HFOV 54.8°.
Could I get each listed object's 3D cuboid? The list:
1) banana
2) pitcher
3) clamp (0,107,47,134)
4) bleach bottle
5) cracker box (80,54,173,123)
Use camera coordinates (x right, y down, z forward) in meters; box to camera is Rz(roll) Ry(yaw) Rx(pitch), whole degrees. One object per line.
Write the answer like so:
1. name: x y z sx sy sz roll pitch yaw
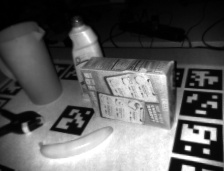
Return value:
1. banana: -0.085 0.137 0.558 0.198 0.039 0.073 -17 36 -5
2. pitcher: -0.269 -0.077 0.676 0.188 0.244 0.132 -7 36 6
3. clamp: -0.280 0.103 0.653 0.164 0.037 0.121 -5 36 8
4. bleach bottle: -0.079 -0.075 0.647 0.101 0.253 0.068 3 39 23
5. cracker box: 0.041 0.002 0.553 0.211 0.165 0.072 3 37 25
